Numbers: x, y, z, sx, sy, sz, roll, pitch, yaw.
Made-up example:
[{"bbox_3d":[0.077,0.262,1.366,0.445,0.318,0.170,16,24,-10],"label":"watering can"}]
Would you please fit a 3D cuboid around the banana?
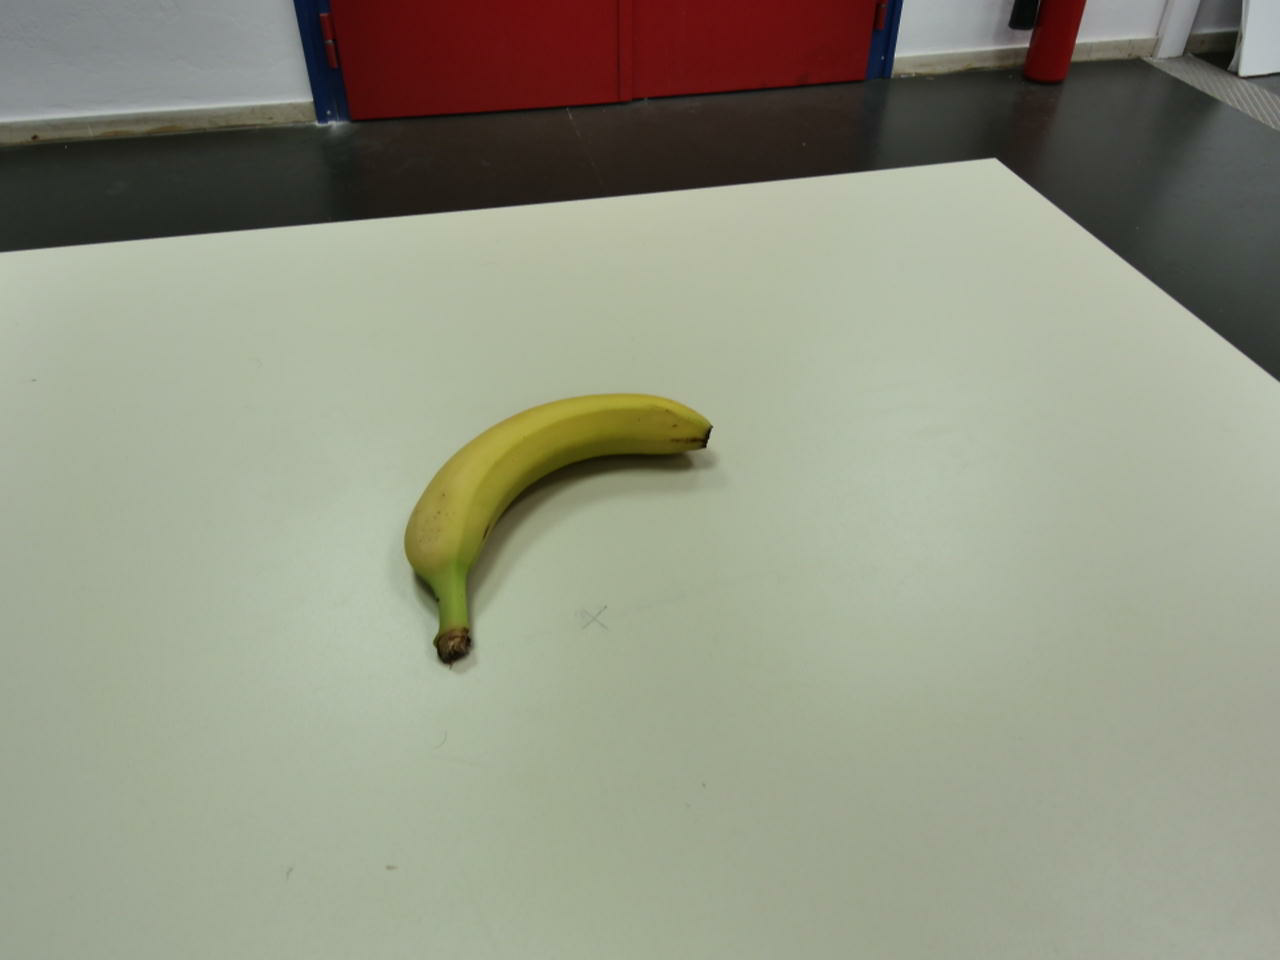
[{"bbox_3d":[-0.055,0.003,0.513,0.094,0.041,0.196,29,47,31],"label":"banana"}]
